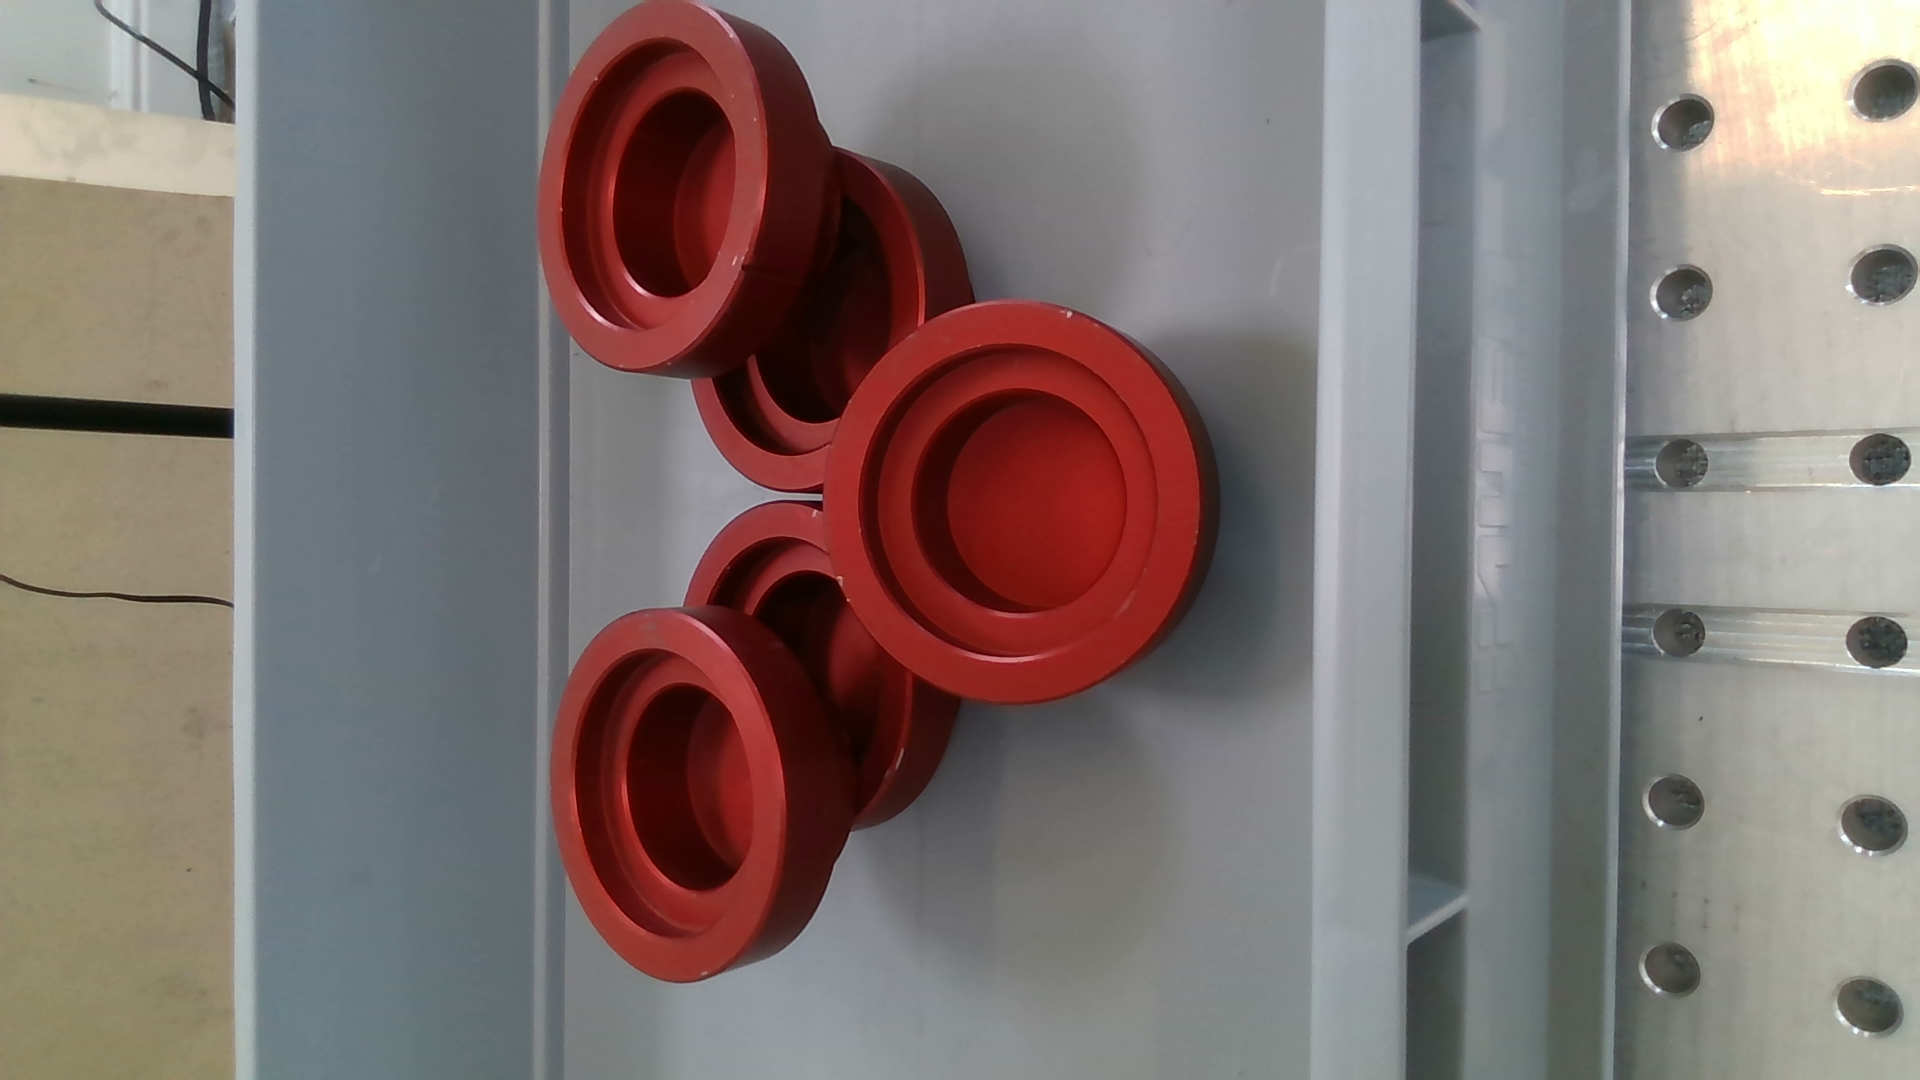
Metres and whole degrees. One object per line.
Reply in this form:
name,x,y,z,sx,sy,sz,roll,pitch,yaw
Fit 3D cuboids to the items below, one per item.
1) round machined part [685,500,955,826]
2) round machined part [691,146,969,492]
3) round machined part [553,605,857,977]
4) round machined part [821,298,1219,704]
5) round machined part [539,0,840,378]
round machined part,-0.038,0.037,0.411,0.098,0.042,0.098,0,91,40
round machined part,-0.034,-0.063,0.407,0.098,0.042,0.098,0,91,40
round machined part,-0.067,0.066,0.381,0.098,0.042,0.098,0,91,40
round machined part,0.017,-0.010,0.351,0.098,0.042,0.098,1,92,22
round machined part,-0.072,-0.094,0.384,0.098,0.042,0.098,0,91,40
